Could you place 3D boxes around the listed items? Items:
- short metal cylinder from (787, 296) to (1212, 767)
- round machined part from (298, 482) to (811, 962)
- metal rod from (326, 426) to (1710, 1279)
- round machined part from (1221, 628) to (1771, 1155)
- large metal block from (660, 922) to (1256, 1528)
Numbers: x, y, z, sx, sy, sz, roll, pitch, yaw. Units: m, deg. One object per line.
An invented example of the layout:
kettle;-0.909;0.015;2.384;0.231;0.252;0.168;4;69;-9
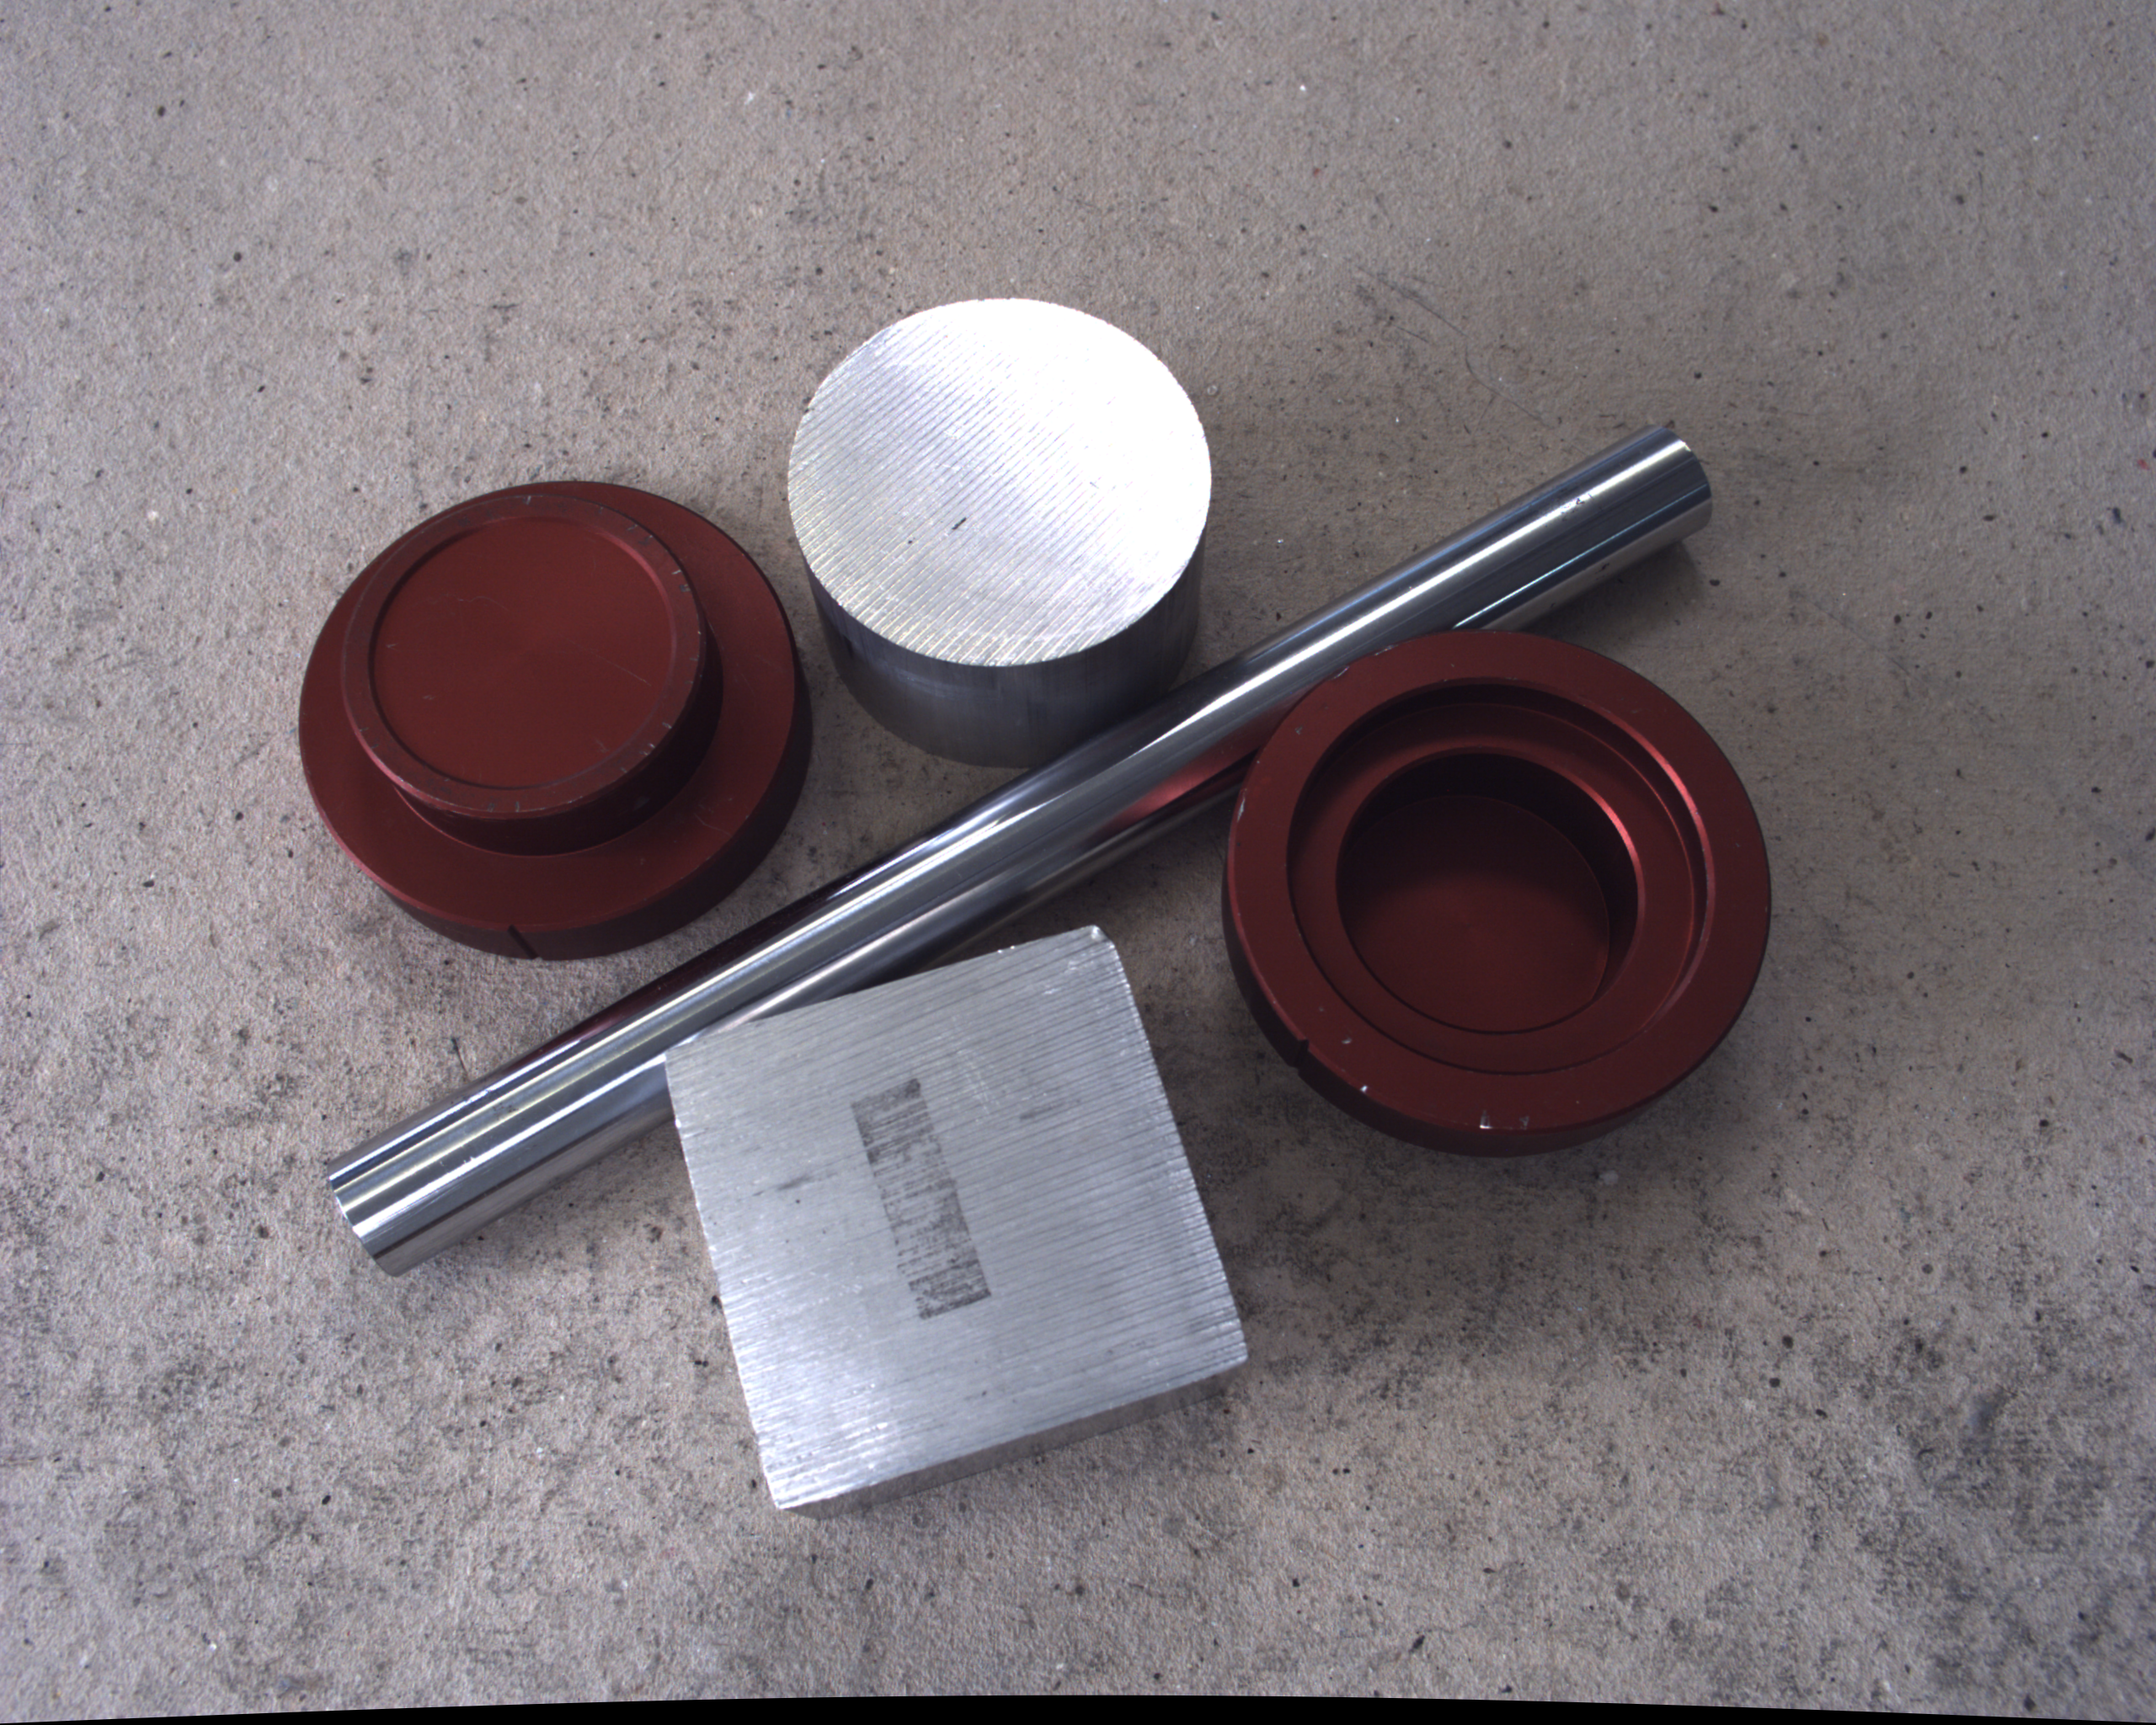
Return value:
short metal cylinder;-0.015;-0.065;0.419;0.081;0.050;0.080;0;70;0
round machined part;-0.104;-0.033;0.411;0.099;0.042;0.098;0;70;0
metal rod;-0.003;-0.008;0.413;0.301;0.025;0.025;-30;73;-11
round machined part;0.076;0.008;0.397;0.099;0.042;0.098;0;70;0
large metal block;-0.021;0.066;0.372;0.081;0.050;0.080;-16;71;-6
